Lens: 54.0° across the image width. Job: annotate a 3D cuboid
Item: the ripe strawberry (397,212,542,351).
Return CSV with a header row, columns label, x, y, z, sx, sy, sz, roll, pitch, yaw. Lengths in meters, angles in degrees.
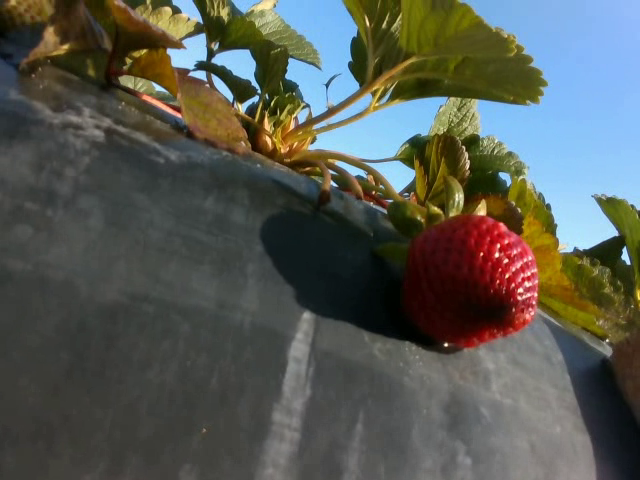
label,x,y,z,sx,sy,sz,roll,pitch,yaw
ripe strawberry,0.040,0.012,0.150,0.040,0.037,0.044,20,21,-31
